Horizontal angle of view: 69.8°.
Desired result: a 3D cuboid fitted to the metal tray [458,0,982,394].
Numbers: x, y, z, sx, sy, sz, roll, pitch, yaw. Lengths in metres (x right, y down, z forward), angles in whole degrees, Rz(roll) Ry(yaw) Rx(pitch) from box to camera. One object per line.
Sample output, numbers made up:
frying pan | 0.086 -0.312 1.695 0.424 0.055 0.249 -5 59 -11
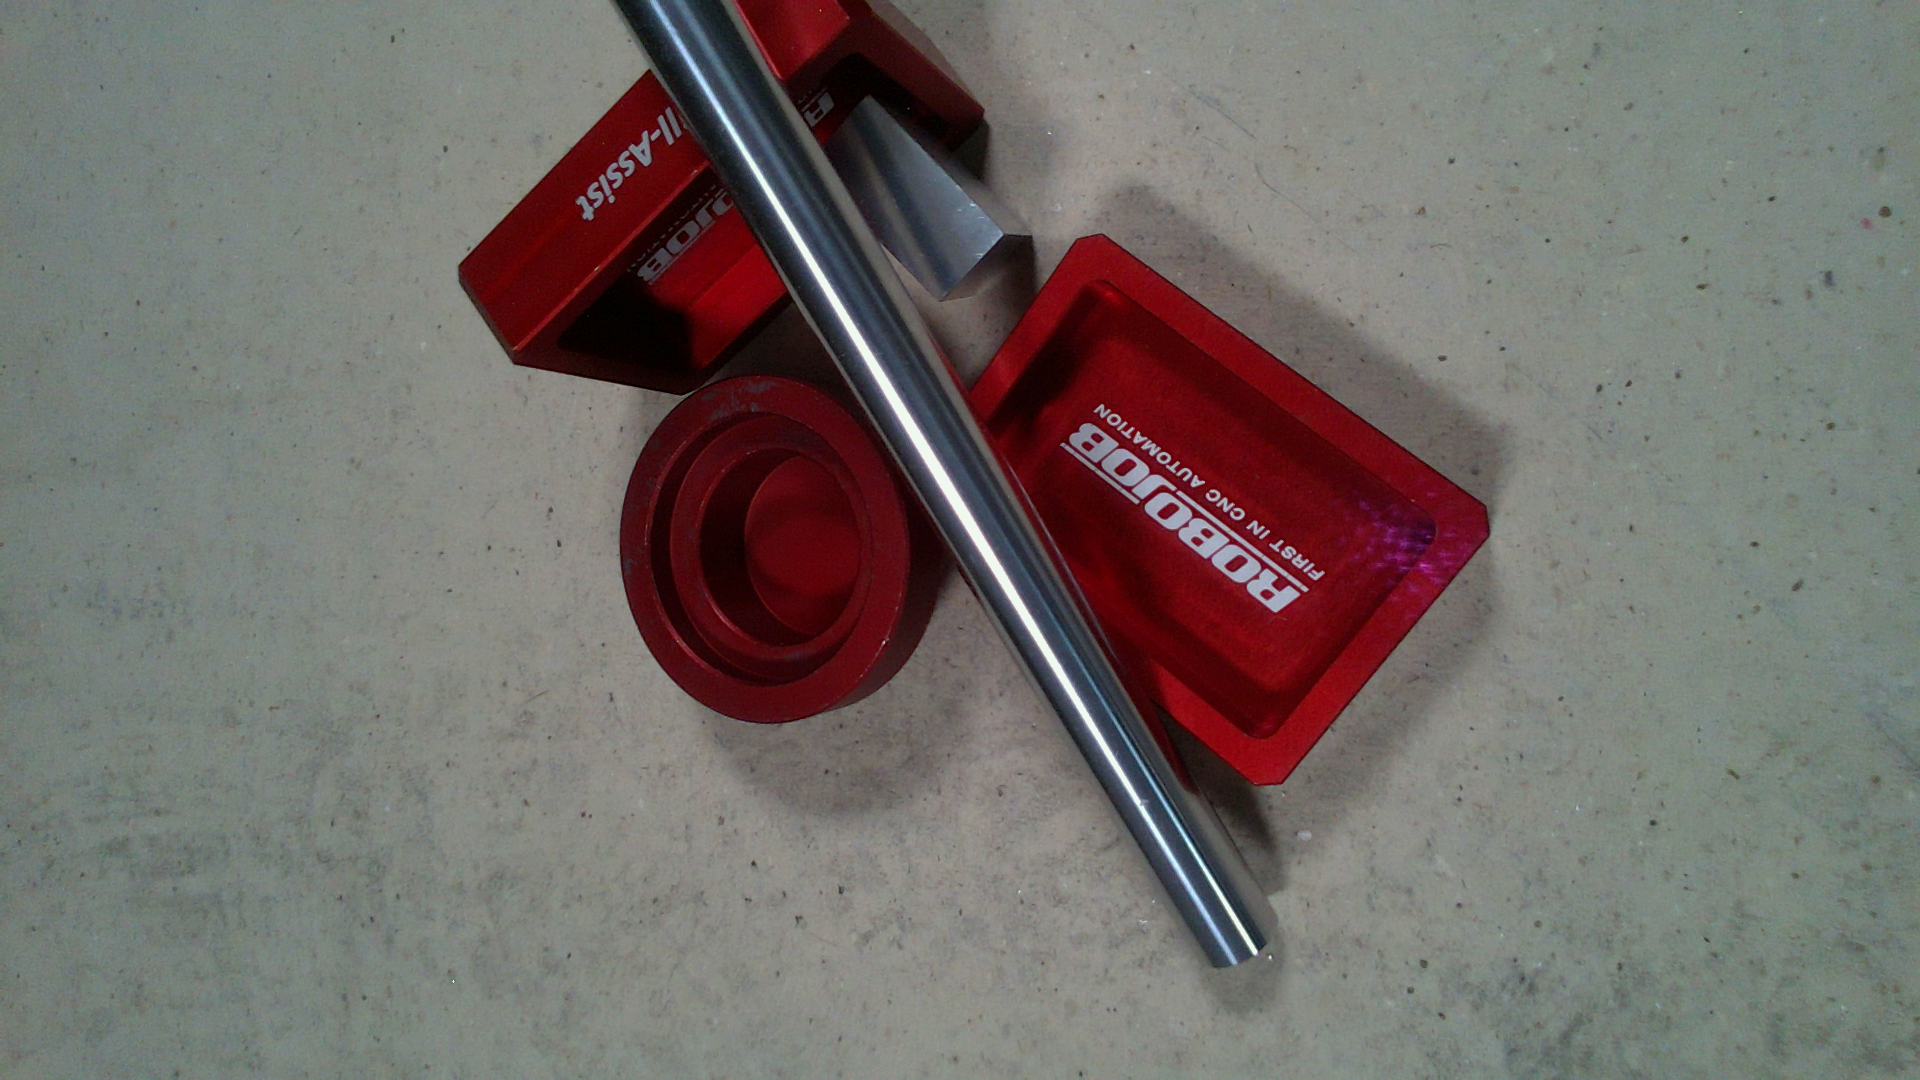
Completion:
metal tray | -0.063 -0.097 0.383 0.130 0.090 0.030 -40 77 16

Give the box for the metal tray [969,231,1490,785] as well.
metal tray | 0.062 -0.010 0.371 0.130 0.030 0.090 39 103 16

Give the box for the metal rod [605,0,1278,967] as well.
metal rod | -0.002 -0.019 0.340 0.025 0.025 0.300 -28 103 18

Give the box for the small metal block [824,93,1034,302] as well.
small metal block | -0.010 -0.094 0.381 0.050 0.050 0.025 45 107 0

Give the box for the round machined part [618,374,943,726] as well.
round machined part | -0.048 0.002 0.400 0.098 0.042 0.098 2 94 26
